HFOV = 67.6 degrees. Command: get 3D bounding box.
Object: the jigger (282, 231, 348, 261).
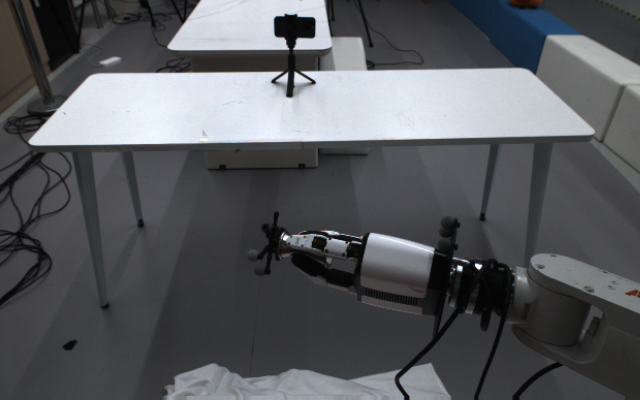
[{"bbox_3d":[-0.012,0.061,0.656,0.071,0.043,0.043,7,35,16],"label":"jigger"}]
